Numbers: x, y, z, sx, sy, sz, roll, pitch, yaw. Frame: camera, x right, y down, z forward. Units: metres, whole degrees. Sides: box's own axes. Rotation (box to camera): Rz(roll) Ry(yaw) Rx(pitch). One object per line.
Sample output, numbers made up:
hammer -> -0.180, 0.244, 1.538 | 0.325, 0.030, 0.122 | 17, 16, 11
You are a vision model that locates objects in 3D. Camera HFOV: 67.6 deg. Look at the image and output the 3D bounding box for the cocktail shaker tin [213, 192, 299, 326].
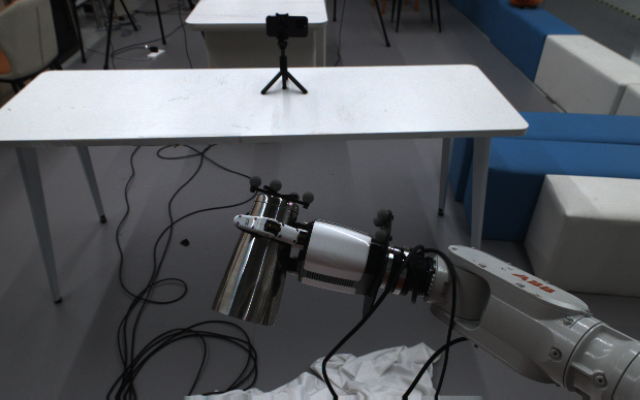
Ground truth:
cocktail shaker tin -> -0.081, 0.080, 0.688 | 0.093, 0.093, 0.170 | 13, 79, 15
